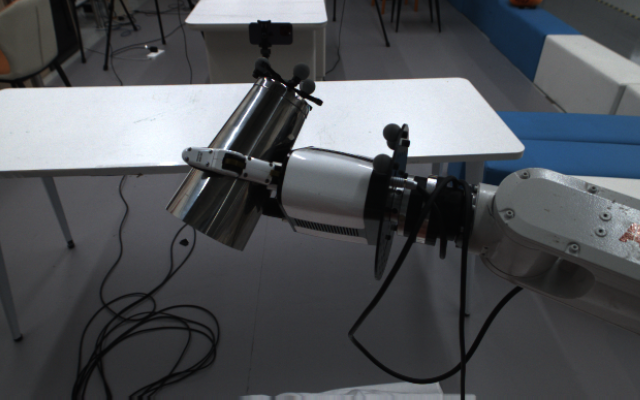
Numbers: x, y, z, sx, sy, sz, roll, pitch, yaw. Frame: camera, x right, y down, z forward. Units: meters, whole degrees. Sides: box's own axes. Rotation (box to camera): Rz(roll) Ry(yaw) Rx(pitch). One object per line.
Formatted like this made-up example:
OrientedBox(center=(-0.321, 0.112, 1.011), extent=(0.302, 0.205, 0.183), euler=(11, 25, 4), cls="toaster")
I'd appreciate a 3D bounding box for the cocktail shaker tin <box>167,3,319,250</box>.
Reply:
OrientedBox(center=(-0.080, -0.044, 0.521), extent=(0.093, 0.093, 0.170), euler=(26, 83, 31), cls="cocktail shaker tin")
